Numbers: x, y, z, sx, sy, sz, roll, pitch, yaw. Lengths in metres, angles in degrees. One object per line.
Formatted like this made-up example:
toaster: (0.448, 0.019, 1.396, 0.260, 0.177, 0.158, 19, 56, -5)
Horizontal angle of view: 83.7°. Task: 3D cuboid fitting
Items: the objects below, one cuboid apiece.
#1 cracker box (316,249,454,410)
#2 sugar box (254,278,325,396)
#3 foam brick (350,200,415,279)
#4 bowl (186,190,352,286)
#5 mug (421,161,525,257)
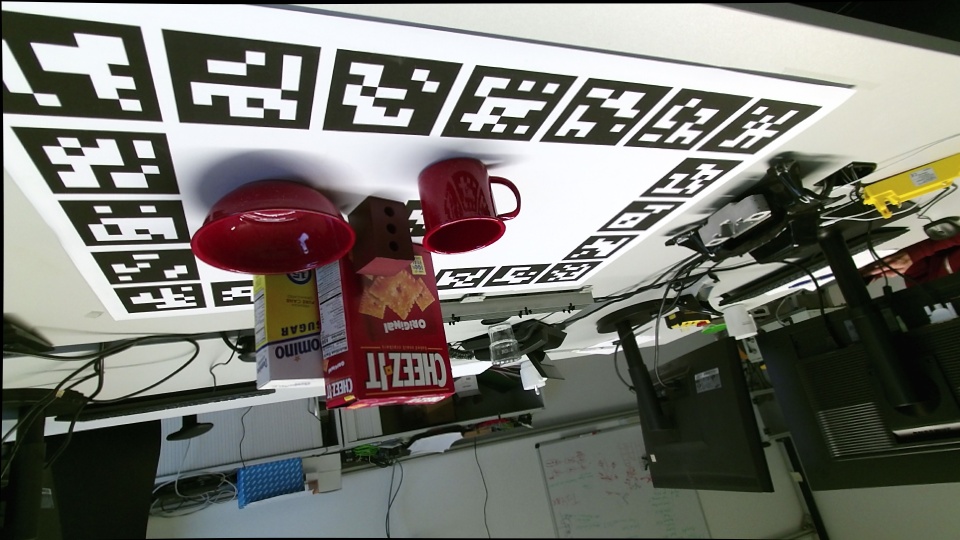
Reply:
cracker box: (-0.124, 0.069, 0.707, 0.072, 0.212, 0.165, -24, 157, 33)
sugar box: (-0.233, 0.065, 0.679, 0.093, 0.175, 0.045, 6, 153, -44)
foam brick: (-0.117, -0.035, 0.639, 0.053, 0.077, 0.051, 3, 156, -39)
bowl: (-0.218, -0.037, 0.561, 0.162, 0.055, 0.162, -12, 159, -4)
mug: (-0.007, -0.068, 0.590, 0.117, 0.081, 0.093, -9, 168, -16)
